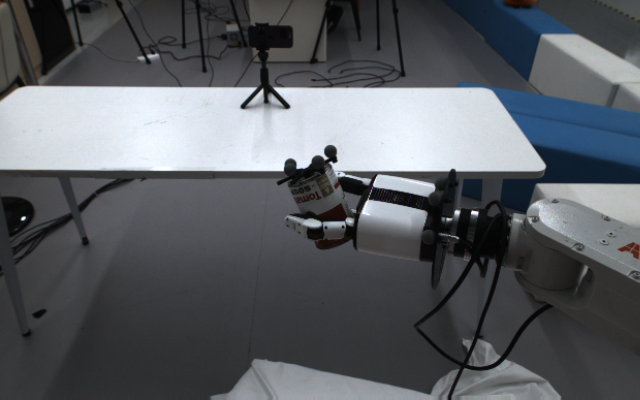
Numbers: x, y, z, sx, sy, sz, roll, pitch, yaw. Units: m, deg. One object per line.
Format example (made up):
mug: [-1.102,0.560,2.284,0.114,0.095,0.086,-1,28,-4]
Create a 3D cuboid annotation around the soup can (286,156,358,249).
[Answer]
soup can: [0.006,0.009,0.671,0.067,0.101,0.067,-23,15,7]
